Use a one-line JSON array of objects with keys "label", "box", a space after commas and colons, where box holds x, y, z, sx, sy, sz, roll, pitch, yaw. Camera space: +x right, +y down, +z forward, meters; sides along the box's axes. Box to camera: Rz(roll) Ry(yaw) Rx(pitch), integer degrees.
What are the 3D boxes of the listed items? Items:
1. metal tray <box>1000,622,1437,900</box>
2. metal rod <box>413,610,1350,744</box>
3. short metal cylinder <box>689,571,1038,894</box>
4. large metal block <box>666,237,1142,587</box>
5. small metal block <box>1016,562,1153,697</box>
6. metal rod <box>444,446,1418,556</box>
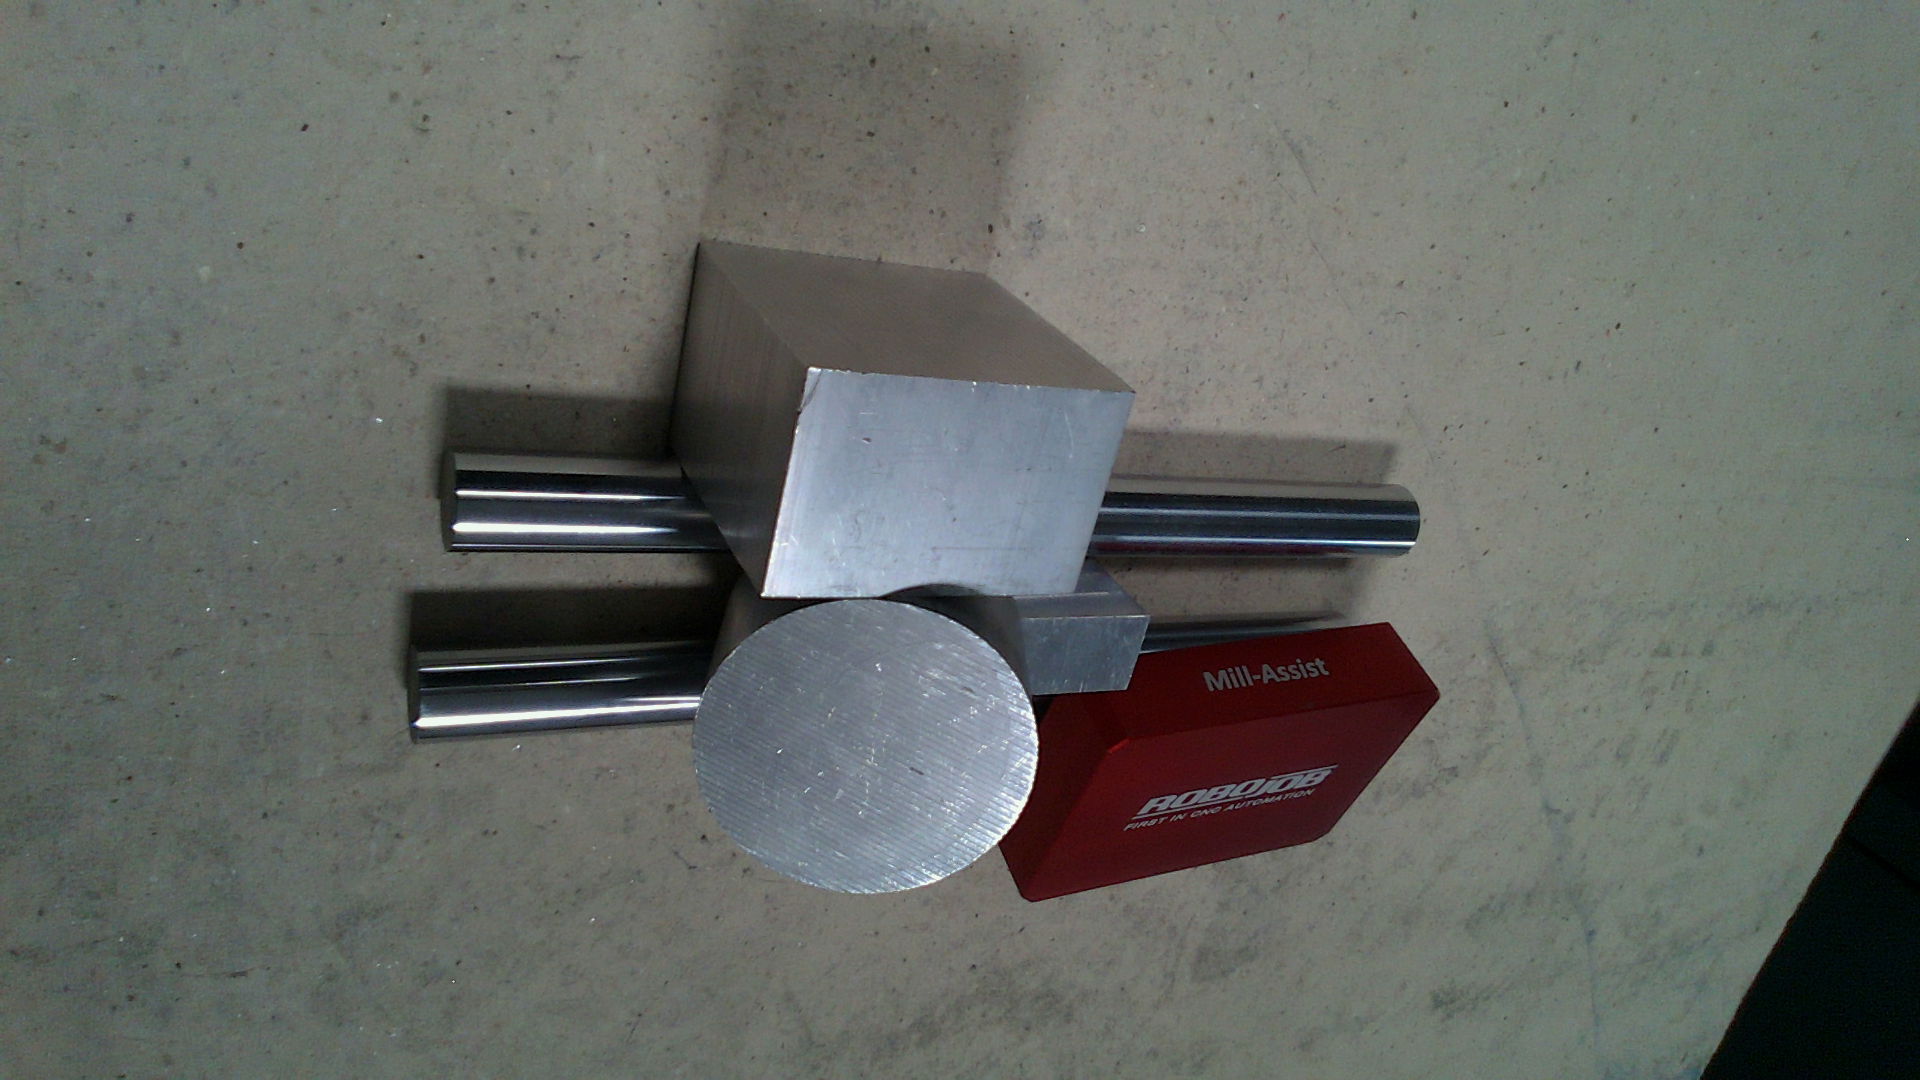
[{"label": "metal tray", "box": [0.084, 0.073, 0.458, 0.130, 0.030, 0.090, -5, 138, -27]}, {"label": "metal rod", "box": [-0.002, 0.037, 0.411, 0.301, 0.025, 0.025, 0, 119, -28]}, {"label": "short metal cylinder", "box": [-0.023, 0.039, 0.339, 0.080, 0.050, 0.080, -1, 114, -2]}, {"label": "large metal block", "box": [-0.017, -0.031, 0.326, 0.080, 0.080, 0.050, 1, 118, -29]}, {"label": "small metal block", "box": [0.019, 0.020, 0.395, 0.050, 0.050, 0.025, 1, 118, -29]}, {"label": "metal rod", "box": [0.013, -0.008, 0.392, 0.301, 0.025, 0.025, 1, 118, -29]}]
